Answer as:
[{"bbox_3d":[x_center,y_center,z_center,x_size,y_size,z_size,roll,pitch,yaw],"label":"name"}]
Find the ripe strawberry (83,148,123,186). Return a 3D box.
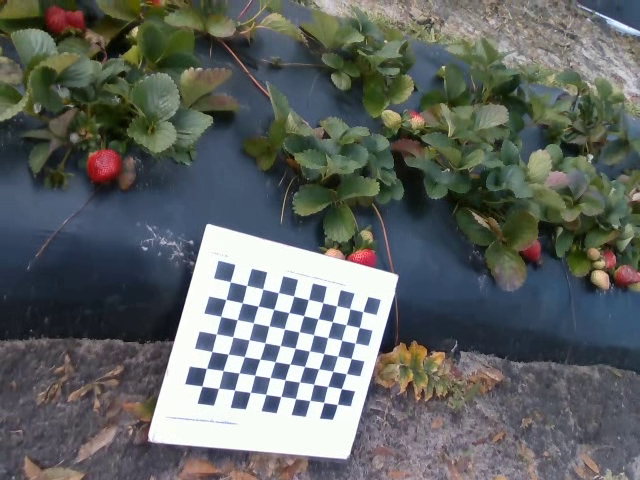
[{"bbox_3d":[-0.284,-0.094,0.818,0.050,0.049,0.053,8,21,-29],"label":"ripe strawberry"}]
